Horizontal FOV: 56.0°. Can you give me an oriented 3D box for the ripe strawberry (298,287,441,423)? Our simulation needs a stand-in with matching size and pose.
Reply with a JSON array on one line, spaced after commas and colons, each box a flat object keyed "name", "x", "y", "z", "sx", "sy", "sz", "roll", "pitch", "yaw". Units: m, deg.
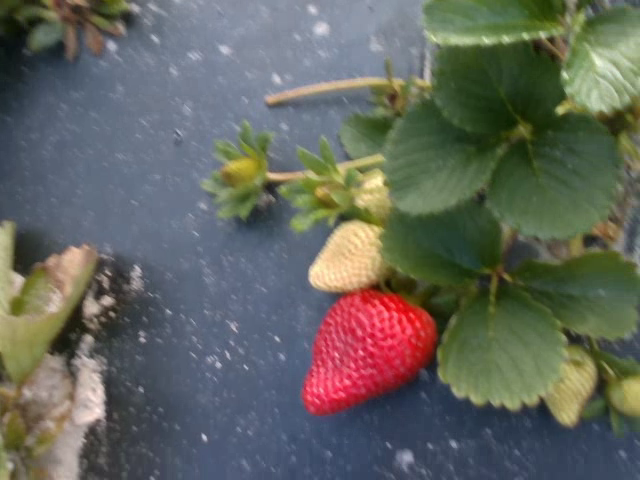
[{"name": "ripe strawberry", "x": 0.011, "y": 0.047, "z": 0.230, "sx": 0.055, "sy": 0.048, "sz": 0.051, "roll": -33, "pitch": 28, "yaw": -27}]
